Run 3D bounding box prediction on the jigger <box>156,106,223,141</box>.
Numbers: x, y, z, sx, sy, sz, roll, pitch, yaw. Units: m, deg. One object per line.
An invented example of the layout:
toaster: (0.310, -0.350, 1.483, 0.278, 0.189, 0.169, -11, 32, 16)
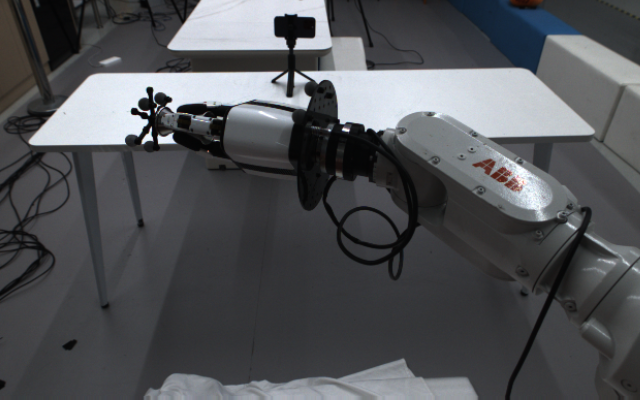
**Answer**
jigger: (-0.176, -0.103, 0.639, 0.071, 0.043, 0.043, 10, 35, 16)
